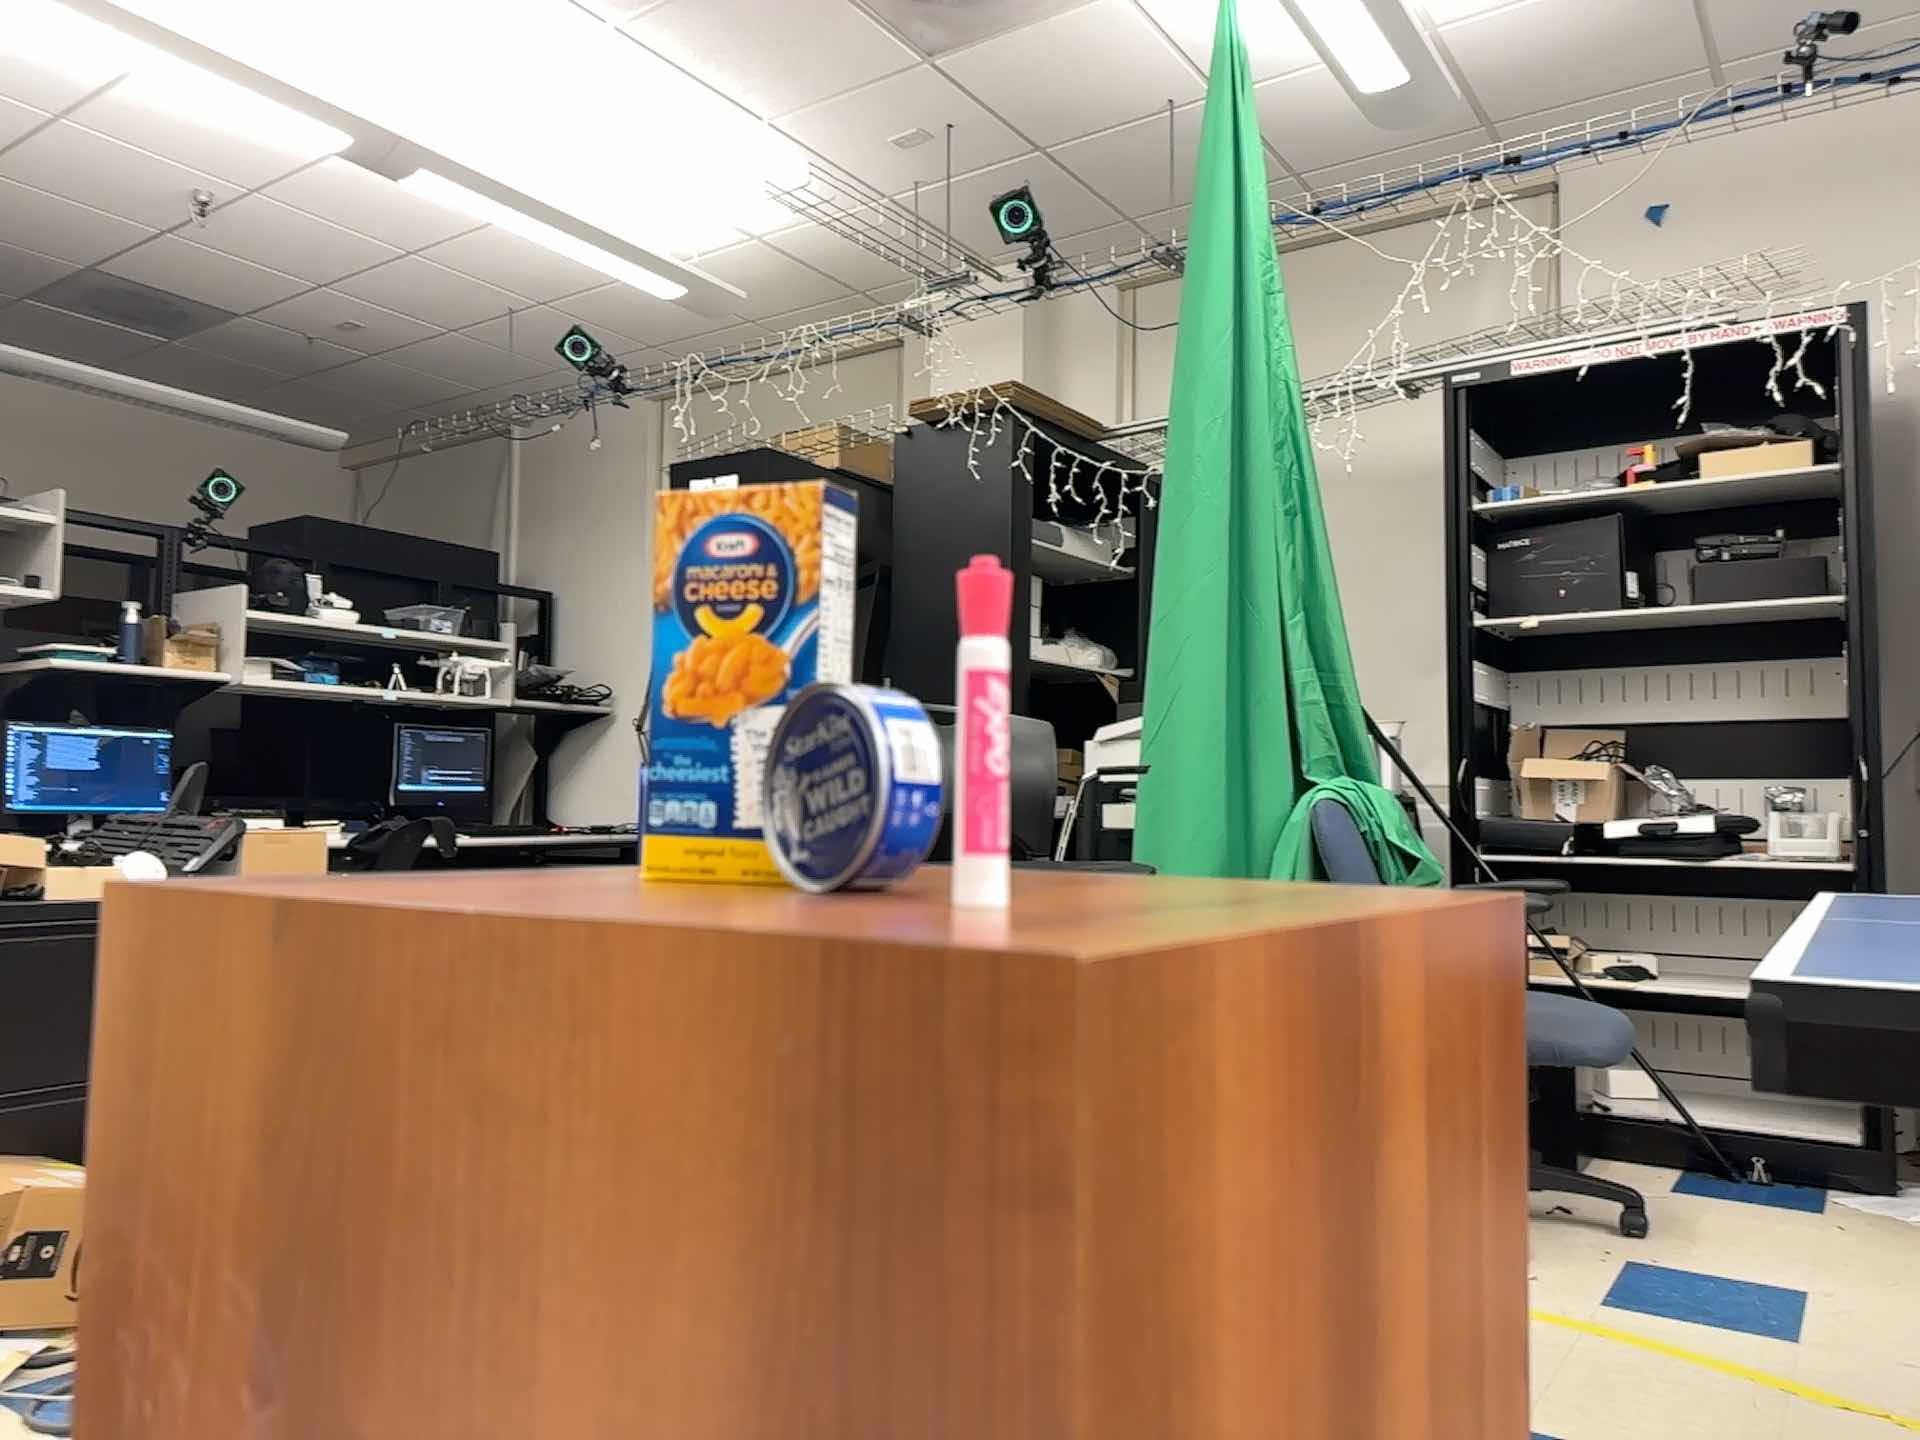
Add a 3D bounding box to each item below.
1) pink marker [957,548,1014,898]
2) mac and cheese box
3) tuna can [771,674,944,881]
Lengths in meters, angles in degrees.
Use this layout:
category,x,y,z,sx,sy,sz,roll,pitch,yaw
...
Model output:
category,x,y,z,sx,sy,sz,roll,pitch,yaw
pink marker,0.009,0.001,0.469,0.020,0.121,0.020,0,-3,0
mac and cheese box,-0.101,-0.021,0.631,0.088,0.181,0.035,-1,-3,26
tuna can,-0.043,0.024,0.557,0.034,0.083,0.083,4,-4,-38
